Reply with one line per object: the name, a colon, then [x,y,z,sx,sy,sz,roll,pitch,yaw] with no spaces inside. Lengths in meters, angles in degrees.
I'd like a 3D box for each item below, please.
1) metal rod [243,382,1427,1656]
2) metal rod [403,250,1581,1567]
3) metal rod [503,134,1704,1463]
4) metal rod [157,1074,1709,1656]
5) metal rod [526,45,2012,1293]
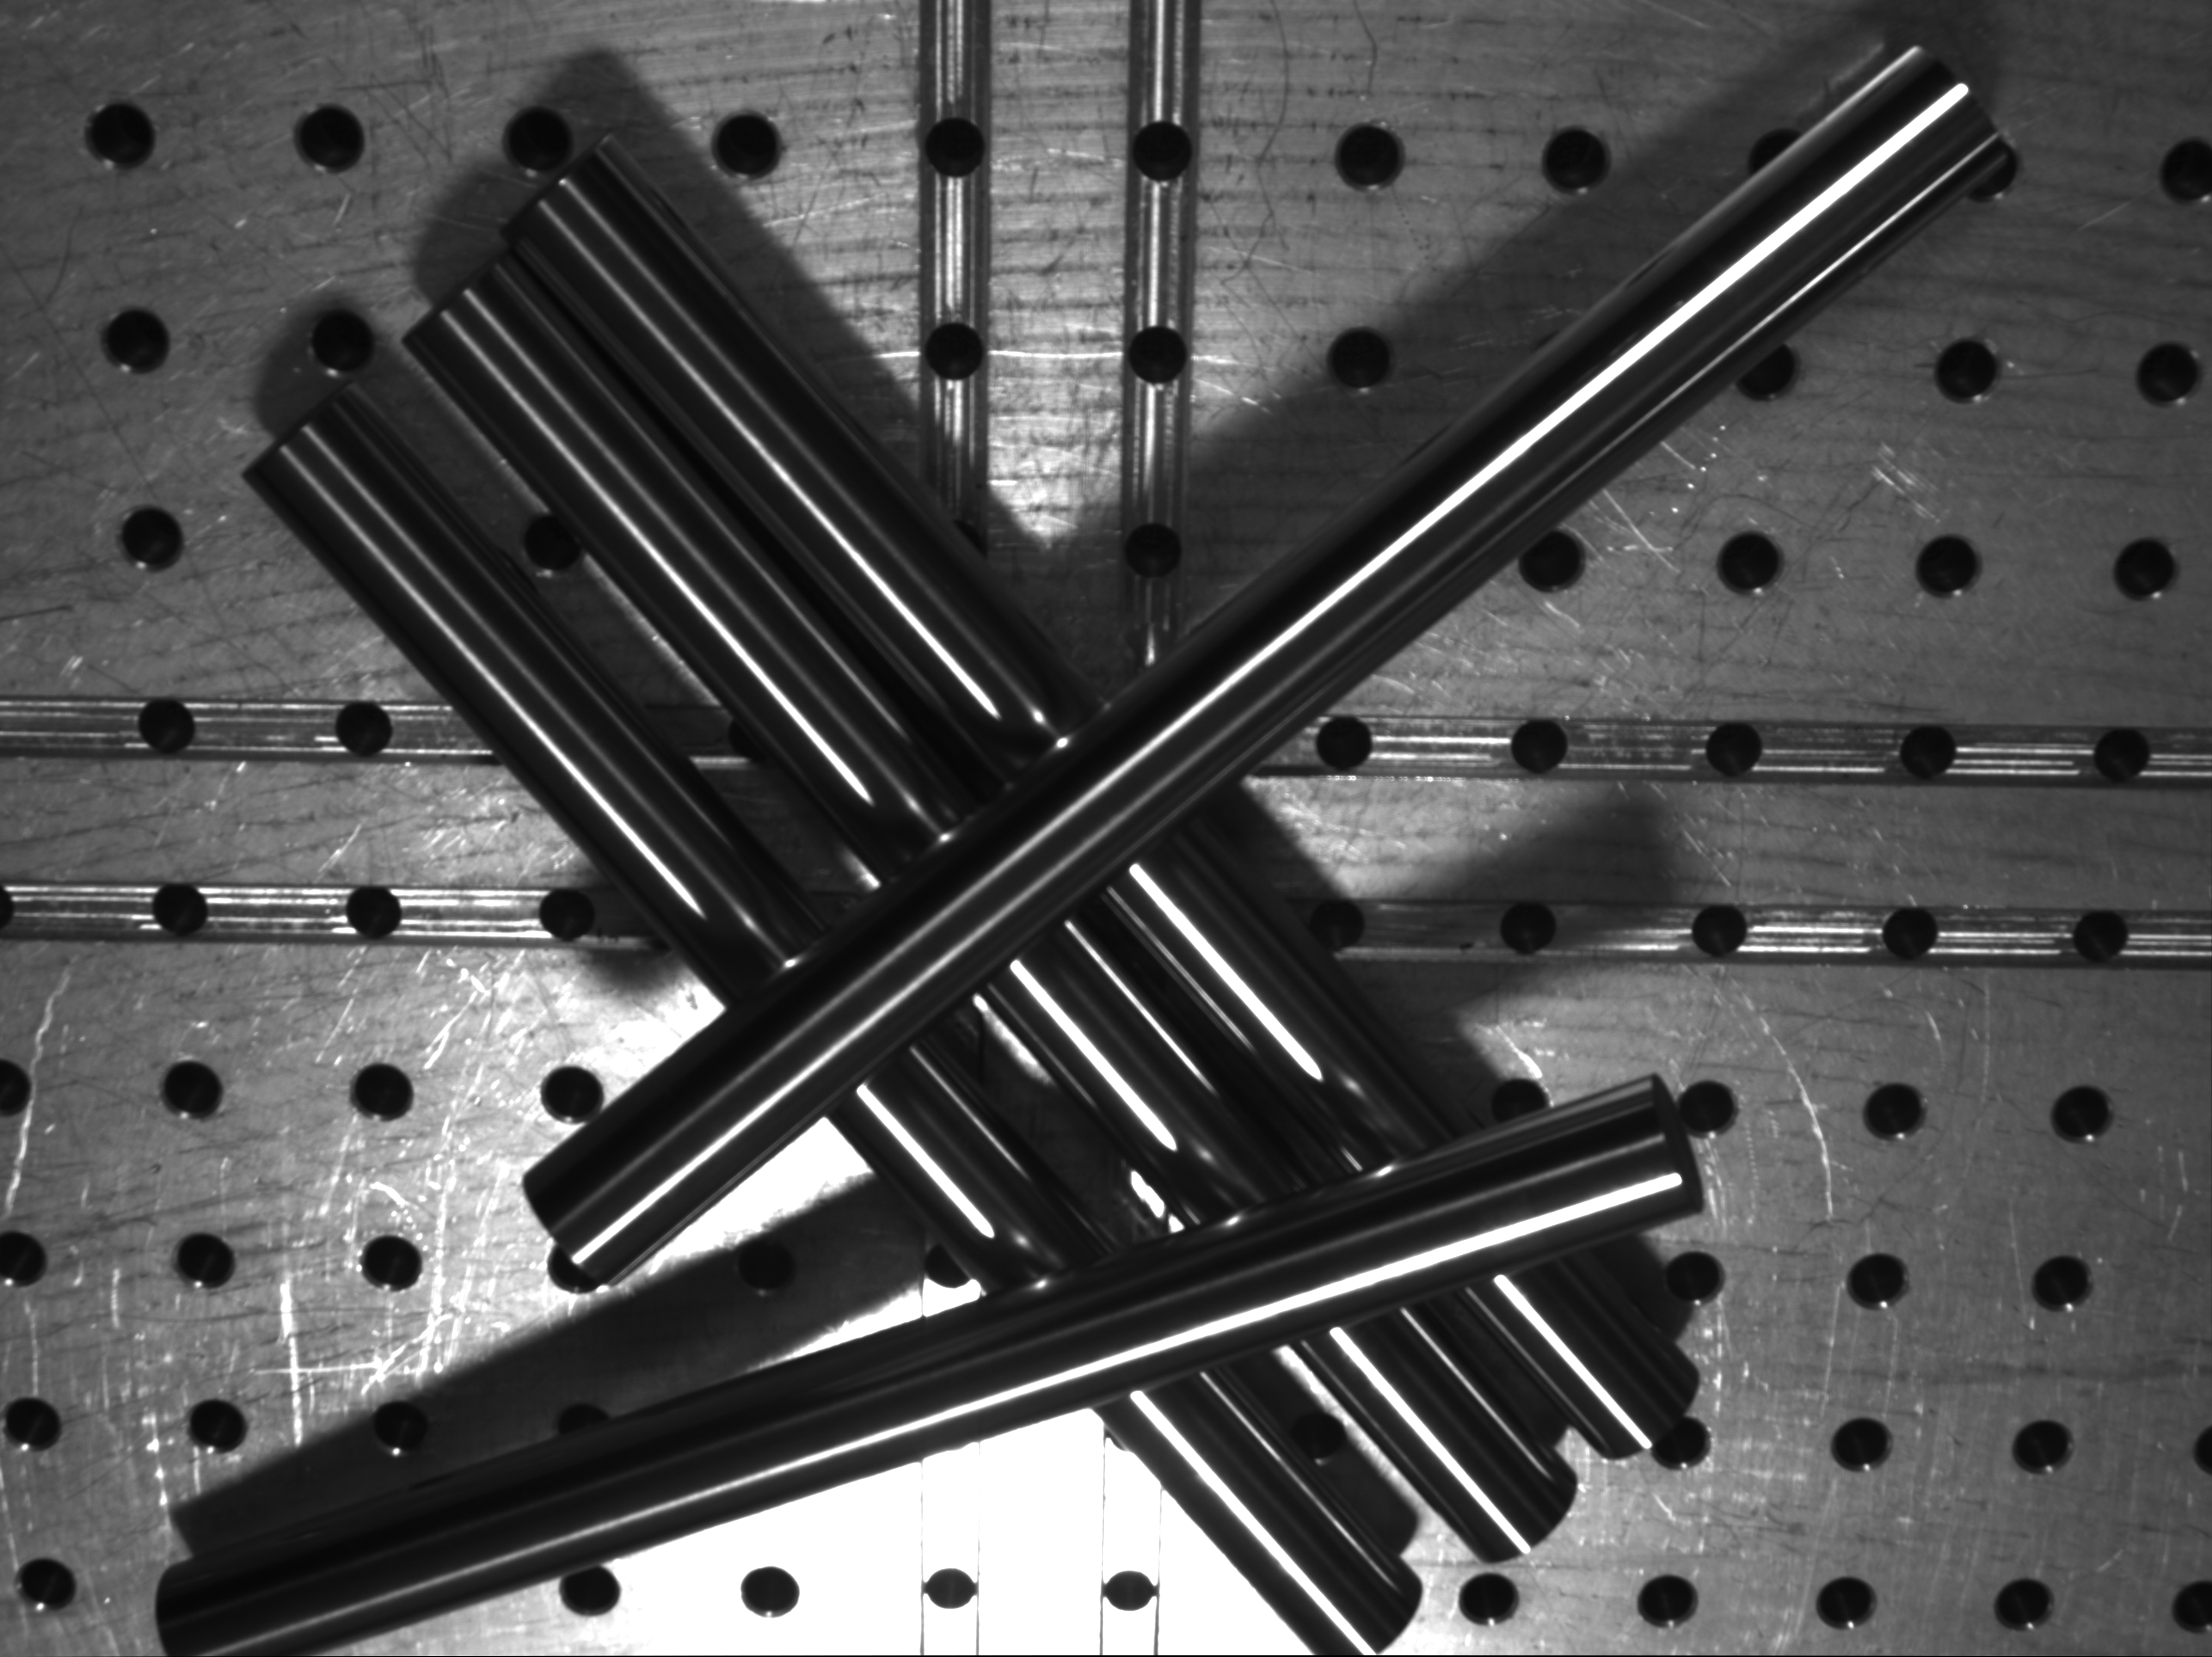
metal rod: [-0.042,0.042,0.660,0.025,0.025,0.300,-37,106,12]
metal rod: [-0.014,0.021,0.653,0.025,0.025,0.300,-37,106,12]
metal rod: [0.006,0.001,0.646,0.025,0.025,0.300,-38,106,12]
metal rod: [-0.038,0.103,0.660,0.300,0.025,0.025,-20,109,15]
metal rod: [0.025,-0.025,0.615,0.300,0.025,0.025,-39,106,4]
